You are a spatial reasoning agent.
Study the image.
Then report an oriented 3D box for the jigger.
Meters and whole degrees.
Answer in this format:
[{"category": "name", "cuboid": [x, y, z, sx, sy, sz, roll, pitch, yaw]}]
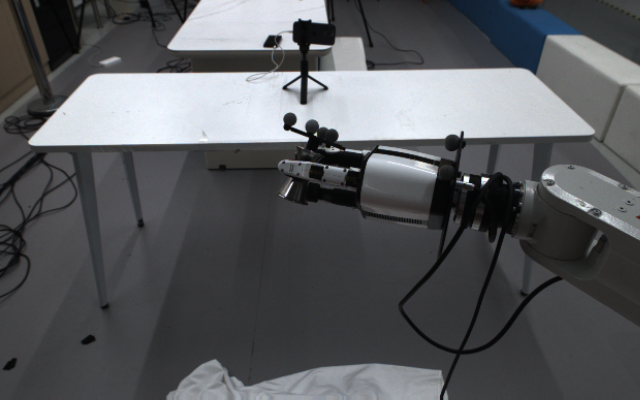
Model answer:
[{"category": "jigger", "cuboid": [-0.025, -0.033, 0.624, 0.043, 0.071, 0.043, 22, 6, -2]}]
